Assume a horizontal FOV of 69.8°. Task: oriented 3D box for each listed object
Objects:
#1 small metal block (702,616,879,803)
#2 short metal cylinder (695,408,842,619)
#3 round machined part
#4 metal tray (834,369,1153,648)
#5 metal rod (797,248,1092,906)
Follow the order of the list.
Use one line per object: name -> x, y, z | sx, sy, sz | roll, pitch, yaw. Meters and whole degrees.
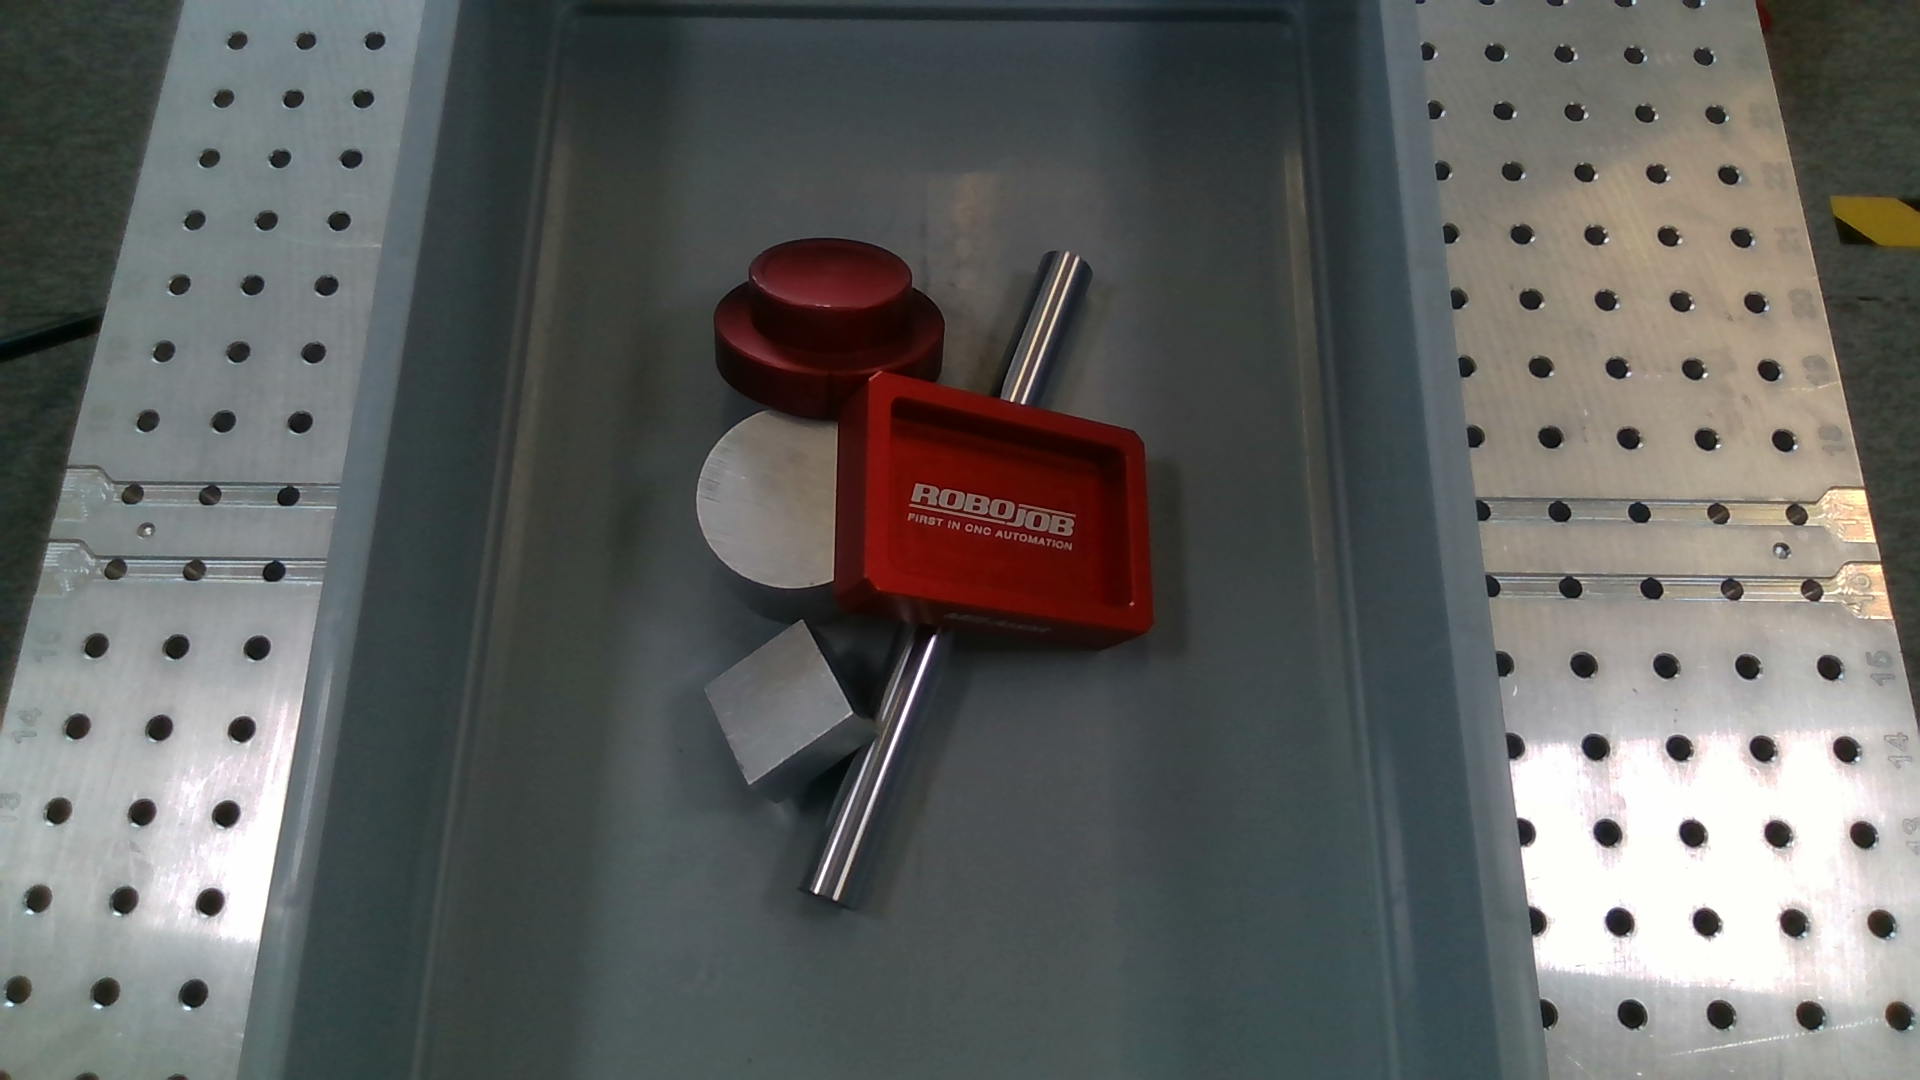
small metal block -> -0.068, 0.068, 0.551 | 0.050, 0.025, 0.050 | -36, 57, 4
short metal cylinder -> -0.067, -0.010, 0.577 | 0.080, 0.050, 0.080 | 0, 70, 0
round machined part -> -0.056, -0.096, 0.587 | 0.098, 0.042, 0.098 | 3, 37, -3
metal tray -> 0.015, -0.010, 0.557 | 0.130, 0.030, 0.090 | 10, 68, -27
metal rod -> -0.002, 0.006, 0.585 | 0.025, 0.025, 0.299 | 19, 71, 7
